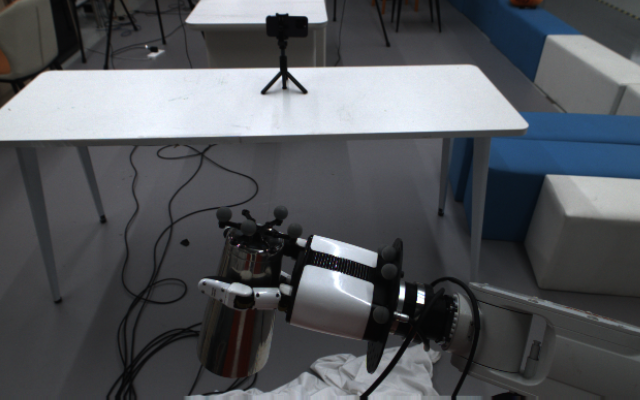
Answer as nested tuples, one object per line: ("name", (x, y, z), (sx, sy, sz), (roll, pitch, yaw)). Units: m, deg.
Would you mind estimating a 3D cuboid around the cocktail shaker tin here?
("cocktail shaker tin", (-0.088, 0.114, 0.582), (0.093, 0.170, 0.093), (12, 25, -6))
